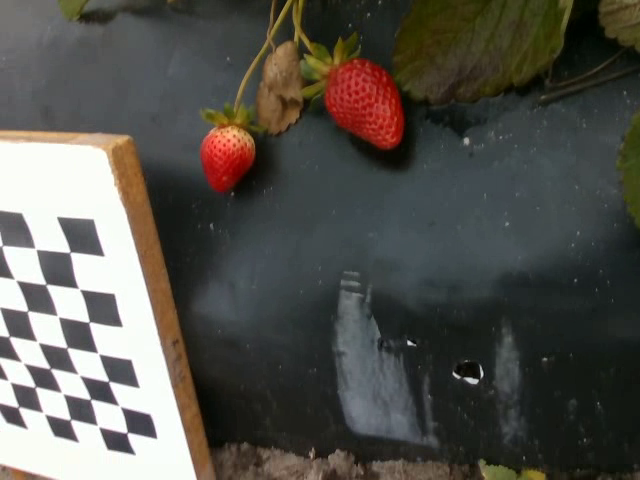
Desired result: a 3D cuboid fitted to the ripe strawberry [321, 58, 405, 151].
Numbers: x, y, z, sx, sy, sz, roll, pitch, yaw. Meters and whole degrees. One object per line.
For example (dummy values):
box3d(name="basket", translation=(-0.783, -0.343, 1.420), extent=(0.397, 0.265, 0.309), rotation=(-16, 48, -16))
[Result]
box3d(name="ripe strawberry", translation=(0.021, -0.066, 0.263), extent=(0.041, 0.059, 0.044), rotation=(-20, -18, -43))

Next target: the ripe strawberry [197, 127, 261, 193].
box3d(name="ripe strawberry", translation=(-0.051, -0.043, 0.289), extent=(0.036, 0.041, 0.027), rotation=(9, 12, 28))
